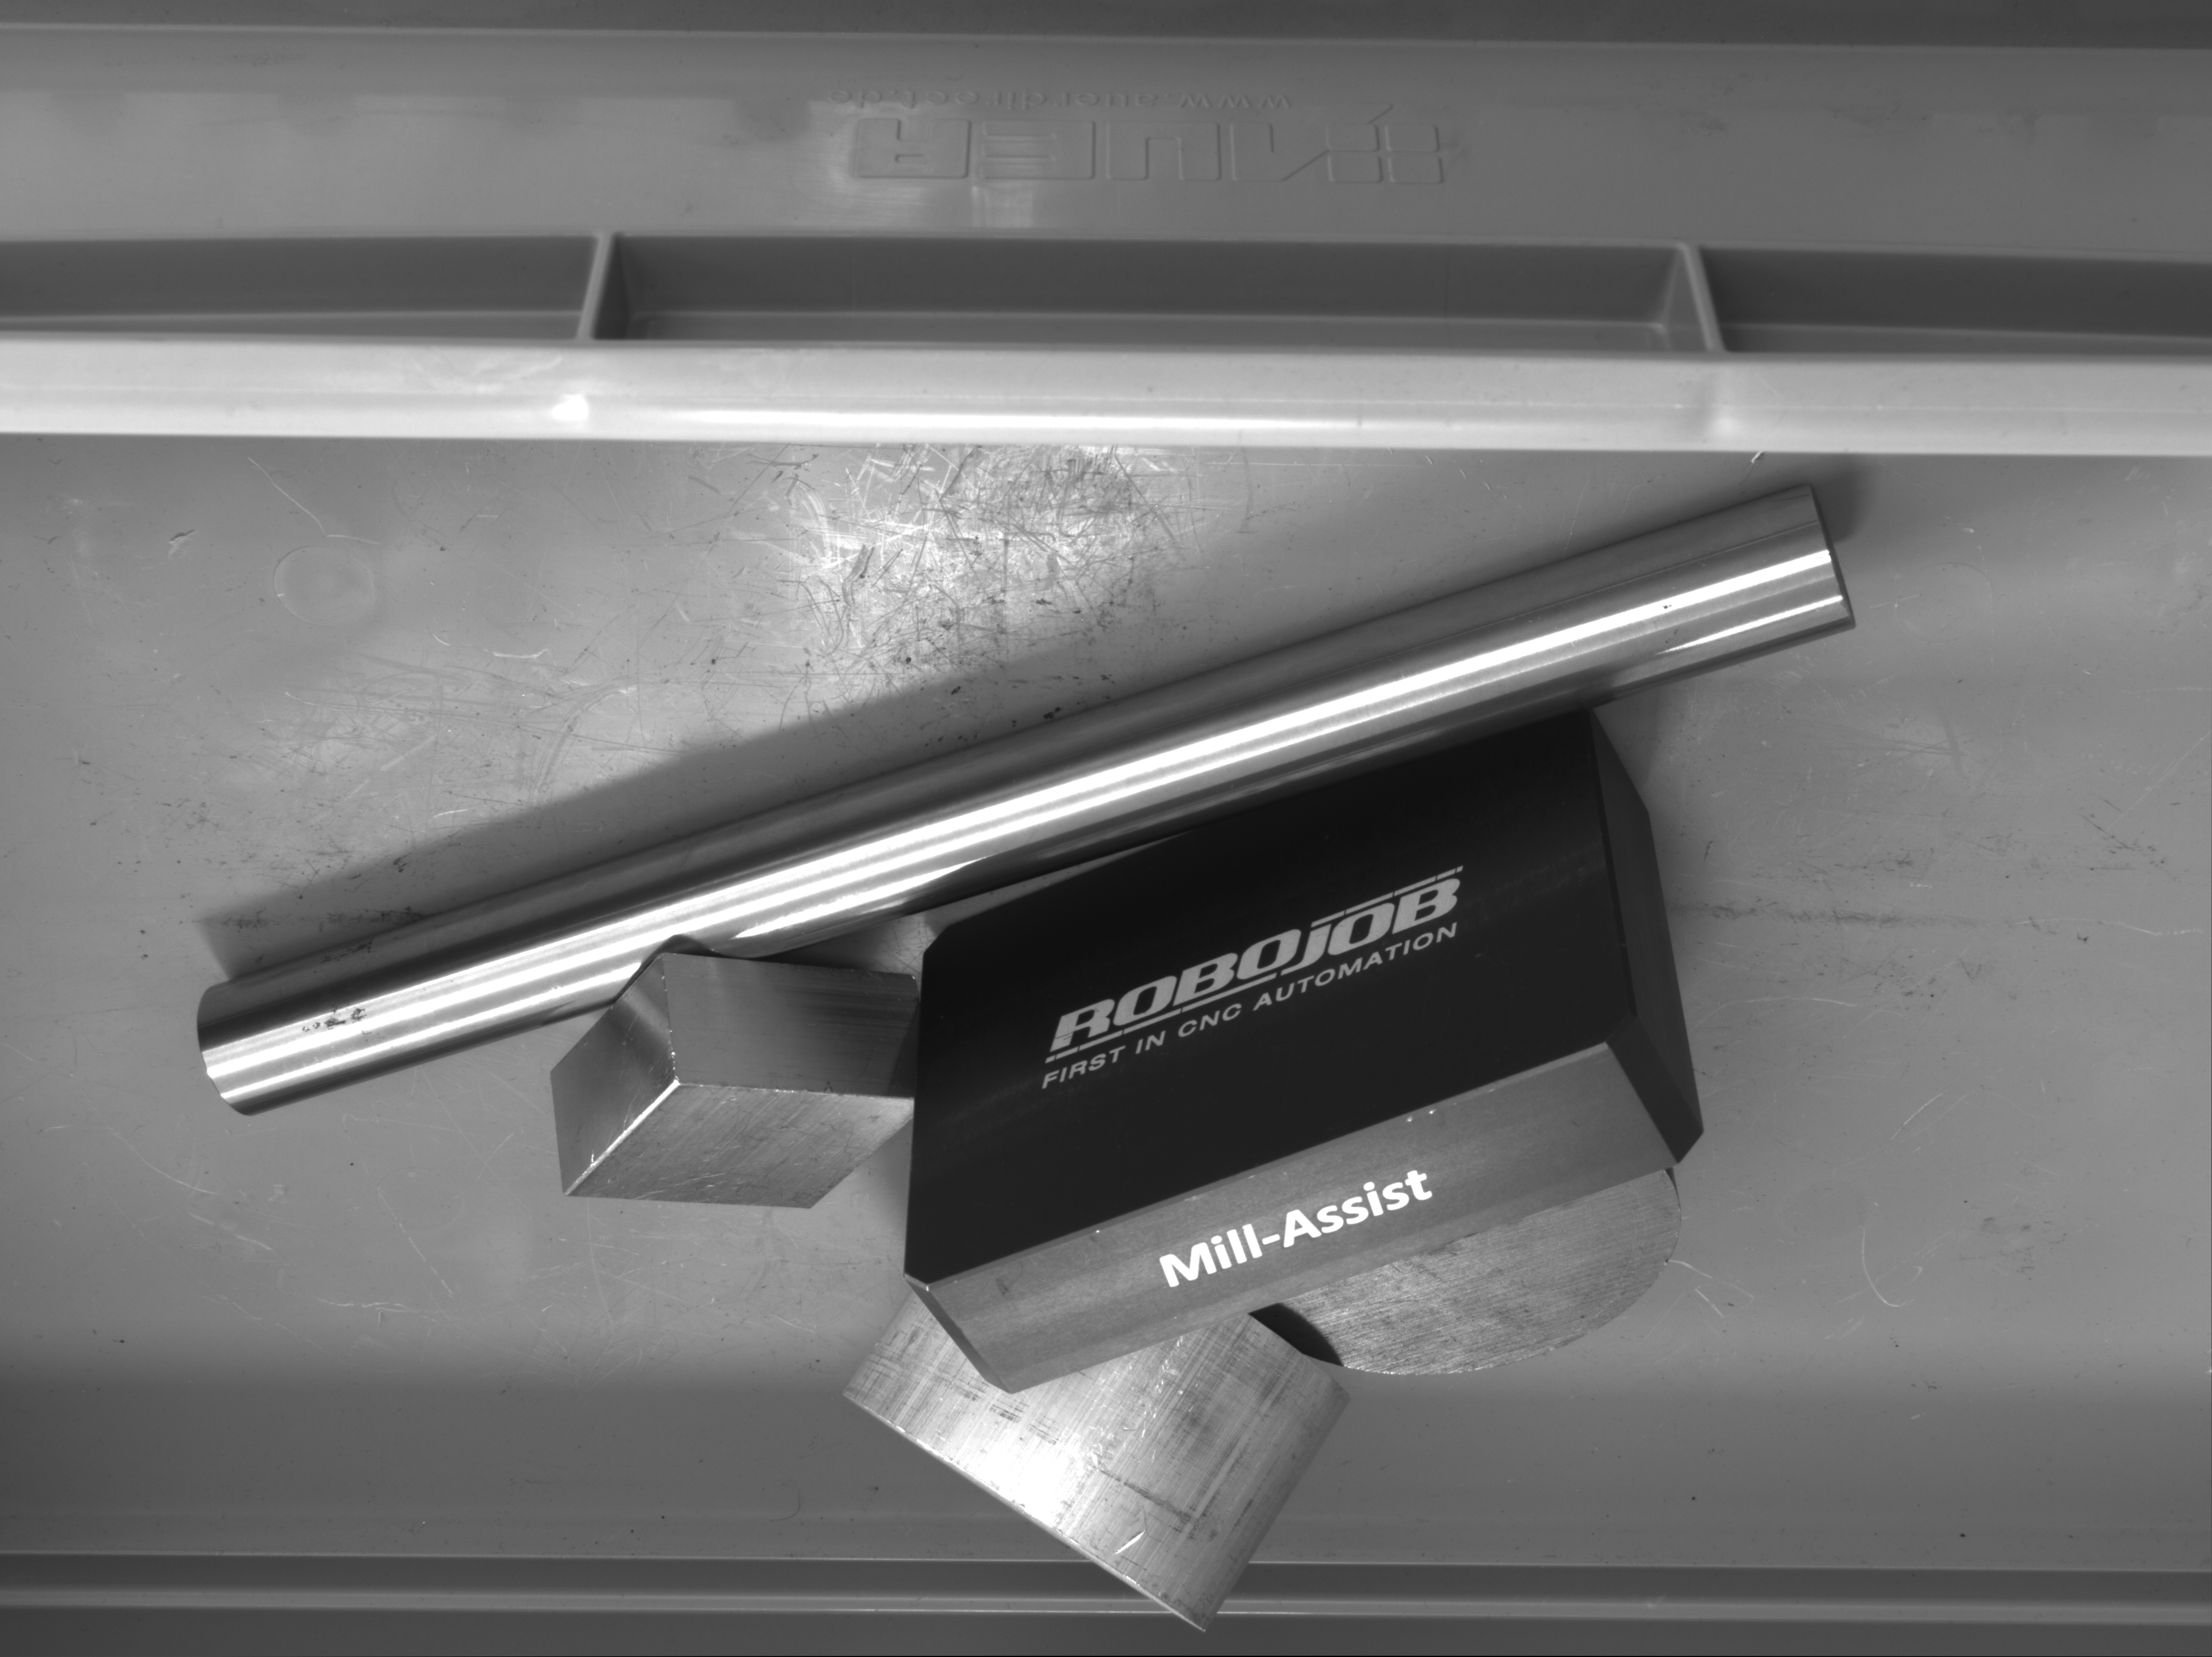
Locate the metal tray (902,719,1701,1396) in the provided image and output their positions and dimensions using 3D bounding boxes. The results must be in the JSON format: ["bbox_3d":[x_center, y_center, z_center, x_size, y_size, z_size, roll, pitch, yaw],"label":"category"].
[{"bbox_3d":[0.031,0.036,0.626,0.130,0.090,0.030,-21,127,17],"label":"metal tray"}]

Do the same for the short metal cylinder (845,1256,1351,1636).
[{"bbox_3d":[-0.002,0.106,0.682,0.080,0.080,0.050,40,78,-28],"label":"short metal cylinder"}]

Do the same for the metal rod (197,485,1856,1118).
[{"bbox_3d":[-0.020,-0.002,0.636,0.300,0.025,0.025,-17,128,14],"label":"metal rod"}]

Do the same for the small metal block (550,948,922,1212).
[{"bbox_3d":[-0.066,0.046,0.660,0.050,0.025,0.050,7,148,-31],"label":"small metal block"}]

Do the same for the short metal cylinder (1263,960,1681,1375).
[{"bbox_3d":[0.059,0.055,0.661,0.080,0.050,0.080,-3,138,-3],"label":"short metal cylinder"}]
